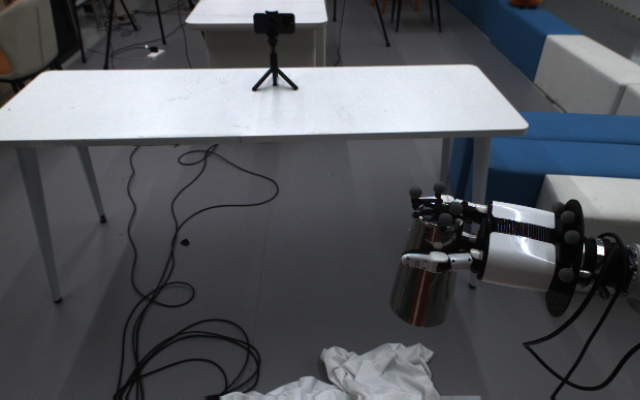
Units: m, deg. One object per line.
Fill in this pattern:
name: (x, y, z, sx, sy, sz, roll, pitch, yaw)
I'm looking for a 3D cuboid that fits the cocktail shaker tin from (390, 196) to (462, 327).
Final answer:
cocktail shaker tin: (0.160, 0.086, 0.704, 0.093, 0.170, 0.093, 3, 33, -2)
